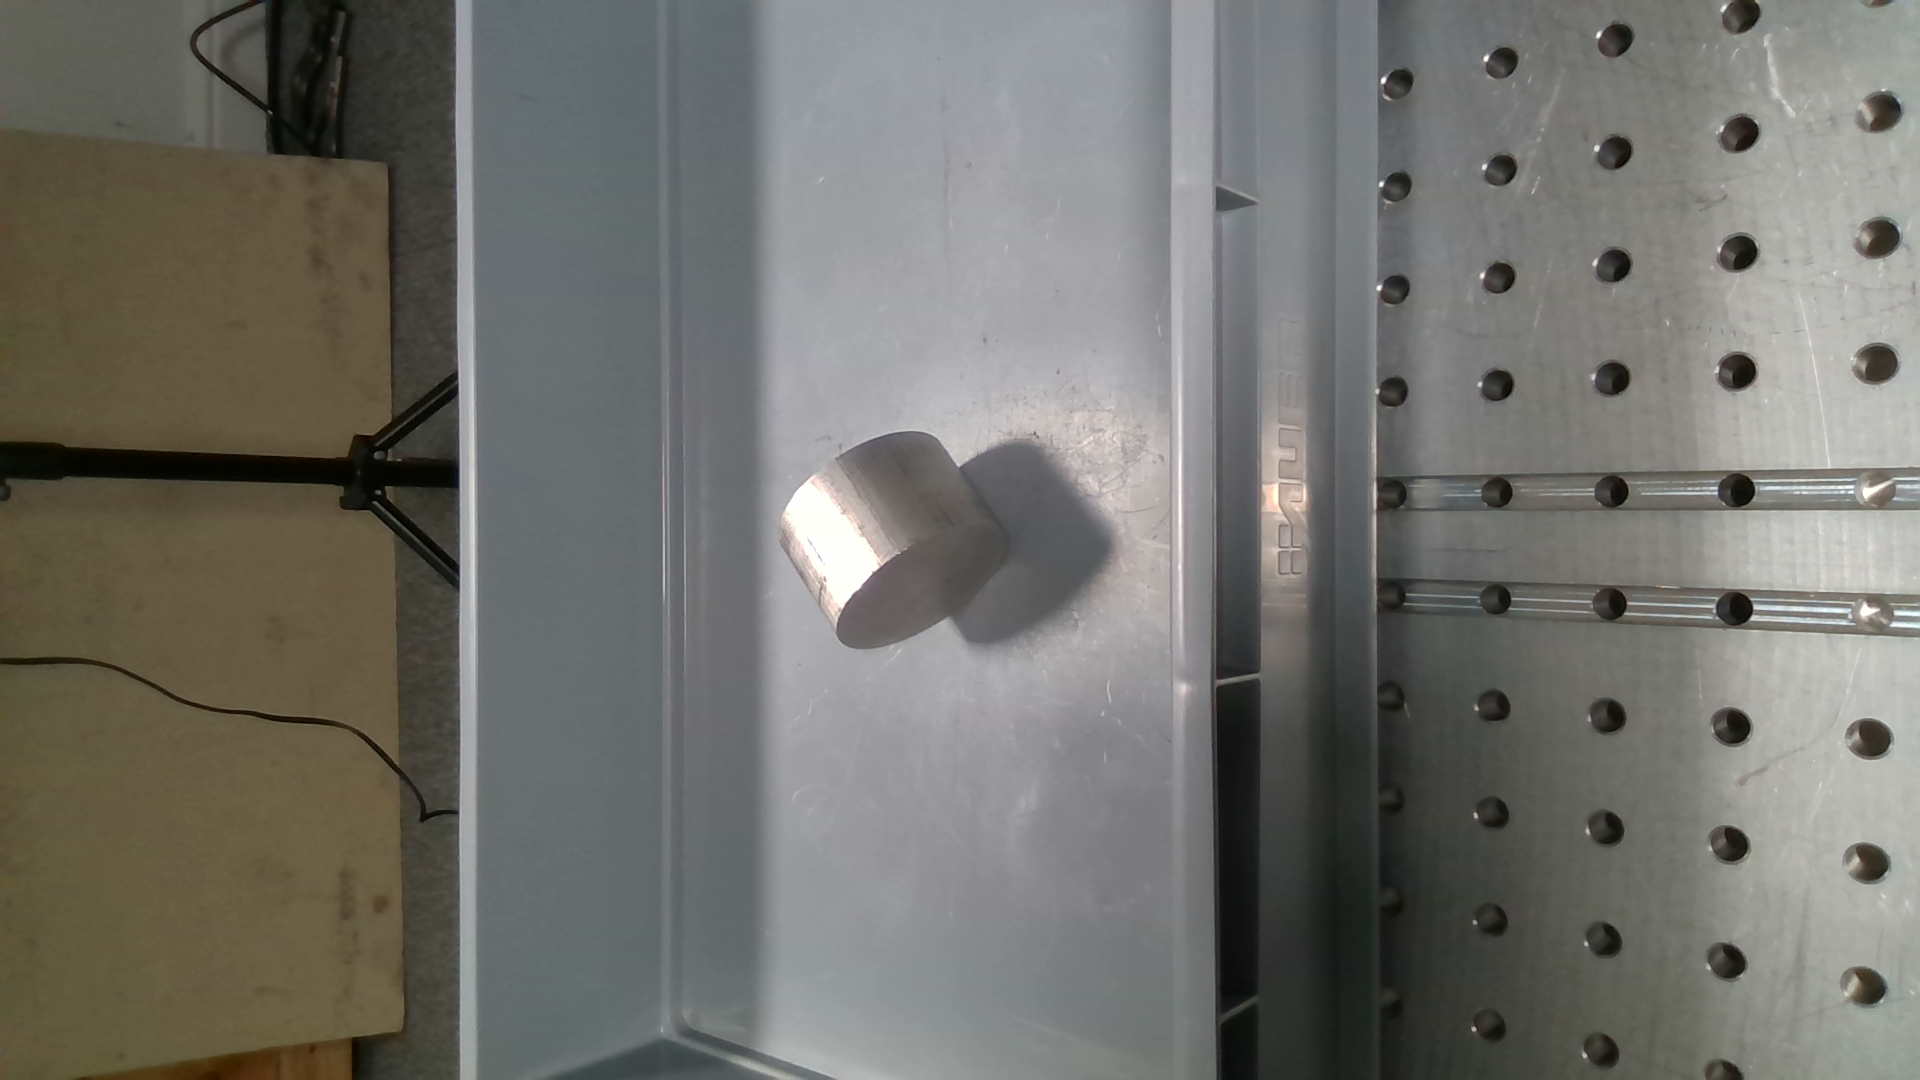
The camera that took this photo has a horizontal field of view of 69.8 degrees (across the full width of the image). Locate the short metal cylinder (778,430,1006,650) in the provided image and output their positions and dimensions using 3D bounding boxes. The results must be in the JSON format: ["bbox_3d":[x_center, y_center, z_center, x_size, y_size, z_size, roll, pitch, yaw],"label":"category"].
[{"bbox_3d":[-0.028,0.001,0.567,0.080,0.080,0.050,-49,61,29],"label":"short metal cylinder"}]
